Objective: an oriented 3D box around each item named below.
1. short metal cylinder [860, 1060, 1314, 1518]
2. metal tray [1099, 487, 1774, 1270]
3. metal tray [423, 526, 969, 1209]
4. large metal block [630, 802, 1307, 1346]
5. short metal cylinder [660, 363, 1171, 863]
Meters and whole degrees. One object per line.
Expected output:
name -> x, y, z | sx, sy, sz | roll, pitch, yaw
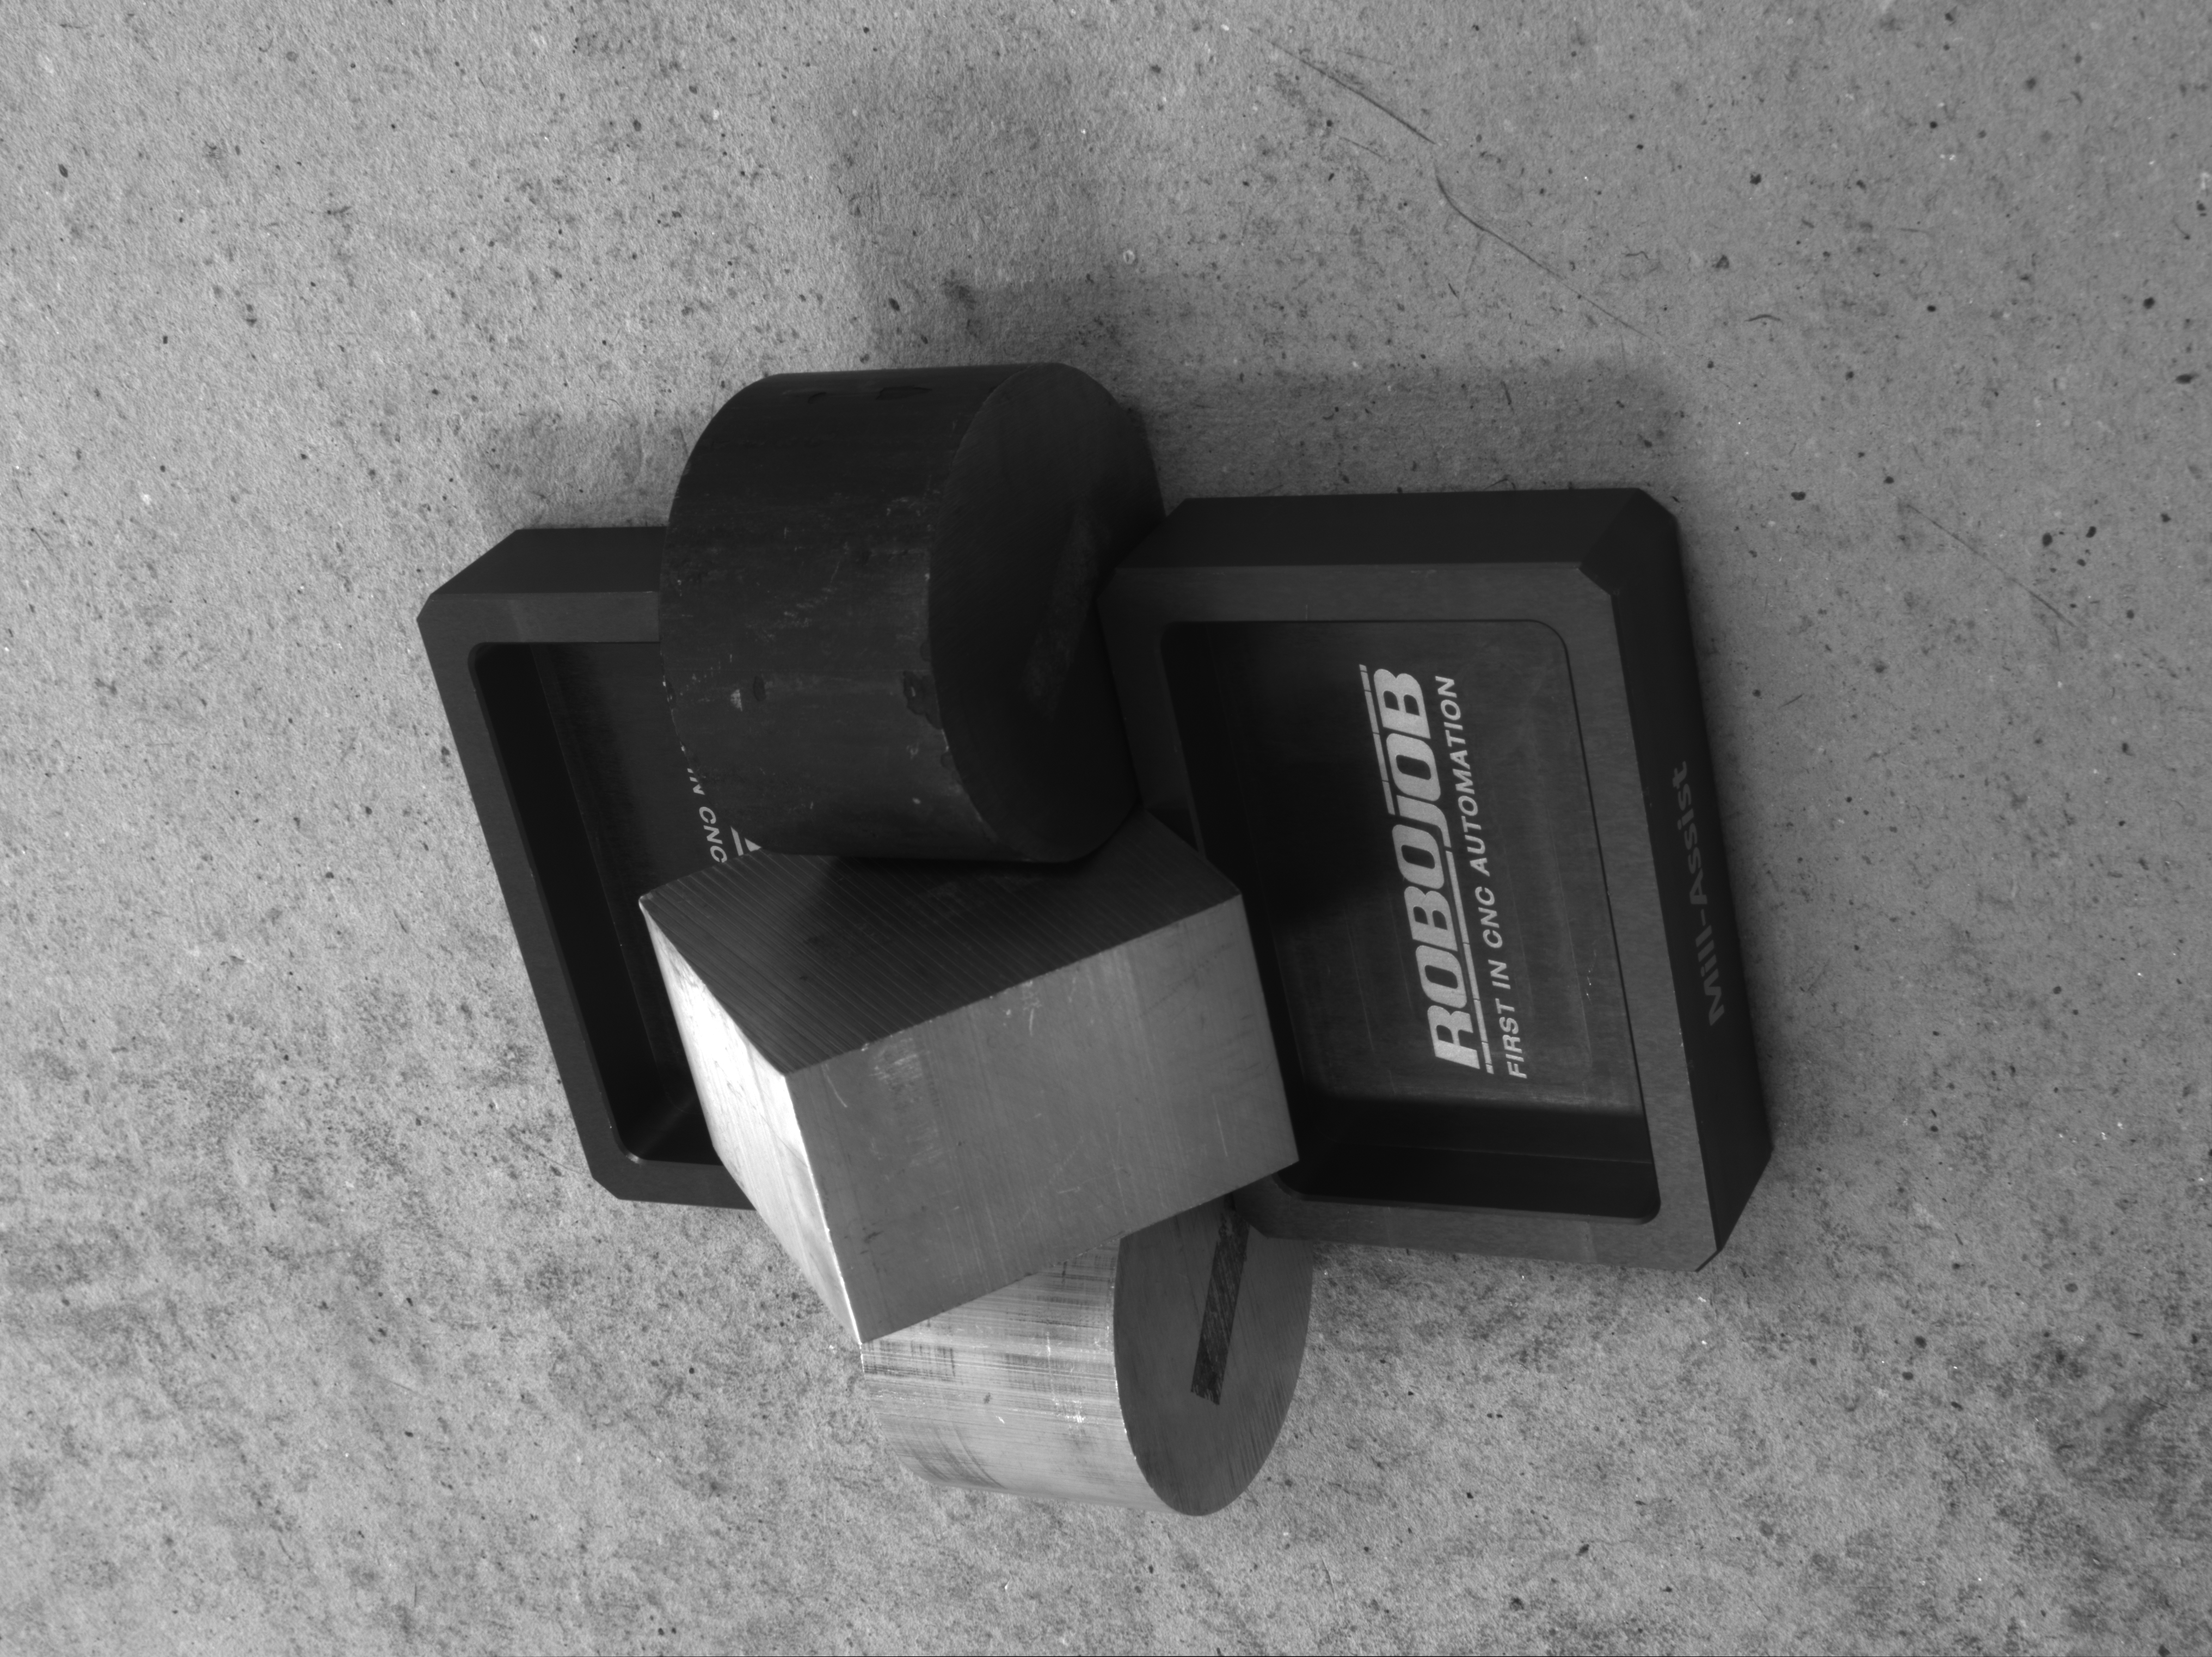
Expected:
short metal cylinder -> -0.002, 0.080, 0.658 | 0.050, 0.080, 0.080 | 2, 119, 27
metal tray -> 0.057, 0.009, 0.616 | 0.090, 0.030, 0.130 | 1, 119, 28
metal tray -> -0.066, 0.009, 0.681 | 0.090, 0.030, 0.130 | 1, 119, 28
large metal block -> -0.024, 0.032, 0.614 | 0.080, 0.080, 0.050 | 39, 146, 59
short metal cylinder -> -0.029, -0.035, 0.602 | 0.050, 0.080, 0.080 | 2, 119, 27
